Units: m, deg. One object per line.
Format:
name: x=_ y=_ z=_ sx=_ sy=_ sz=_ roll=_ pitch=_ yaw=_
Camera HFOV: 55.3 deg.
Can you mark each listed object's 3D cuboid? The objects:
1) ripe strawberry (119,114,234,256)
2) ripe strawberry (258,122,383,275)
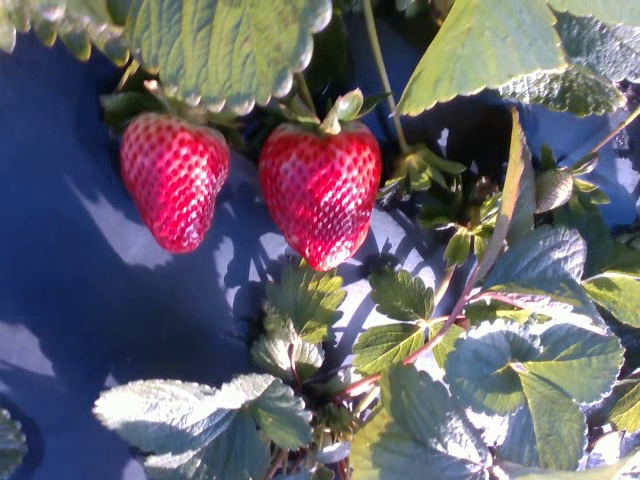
ripe strawberry: x=-0.049 y=-0.017 z=0.200 sx=0.043 sy=0.051 sz=0.037 roll=-9 pitch=6 yaw=13
ripe strawberry: x=0.003 y=-0.014 z=0.219 sx=0.052 sy=0.057 sz=0.046 roll=-4 pitch=4 yaw=6
